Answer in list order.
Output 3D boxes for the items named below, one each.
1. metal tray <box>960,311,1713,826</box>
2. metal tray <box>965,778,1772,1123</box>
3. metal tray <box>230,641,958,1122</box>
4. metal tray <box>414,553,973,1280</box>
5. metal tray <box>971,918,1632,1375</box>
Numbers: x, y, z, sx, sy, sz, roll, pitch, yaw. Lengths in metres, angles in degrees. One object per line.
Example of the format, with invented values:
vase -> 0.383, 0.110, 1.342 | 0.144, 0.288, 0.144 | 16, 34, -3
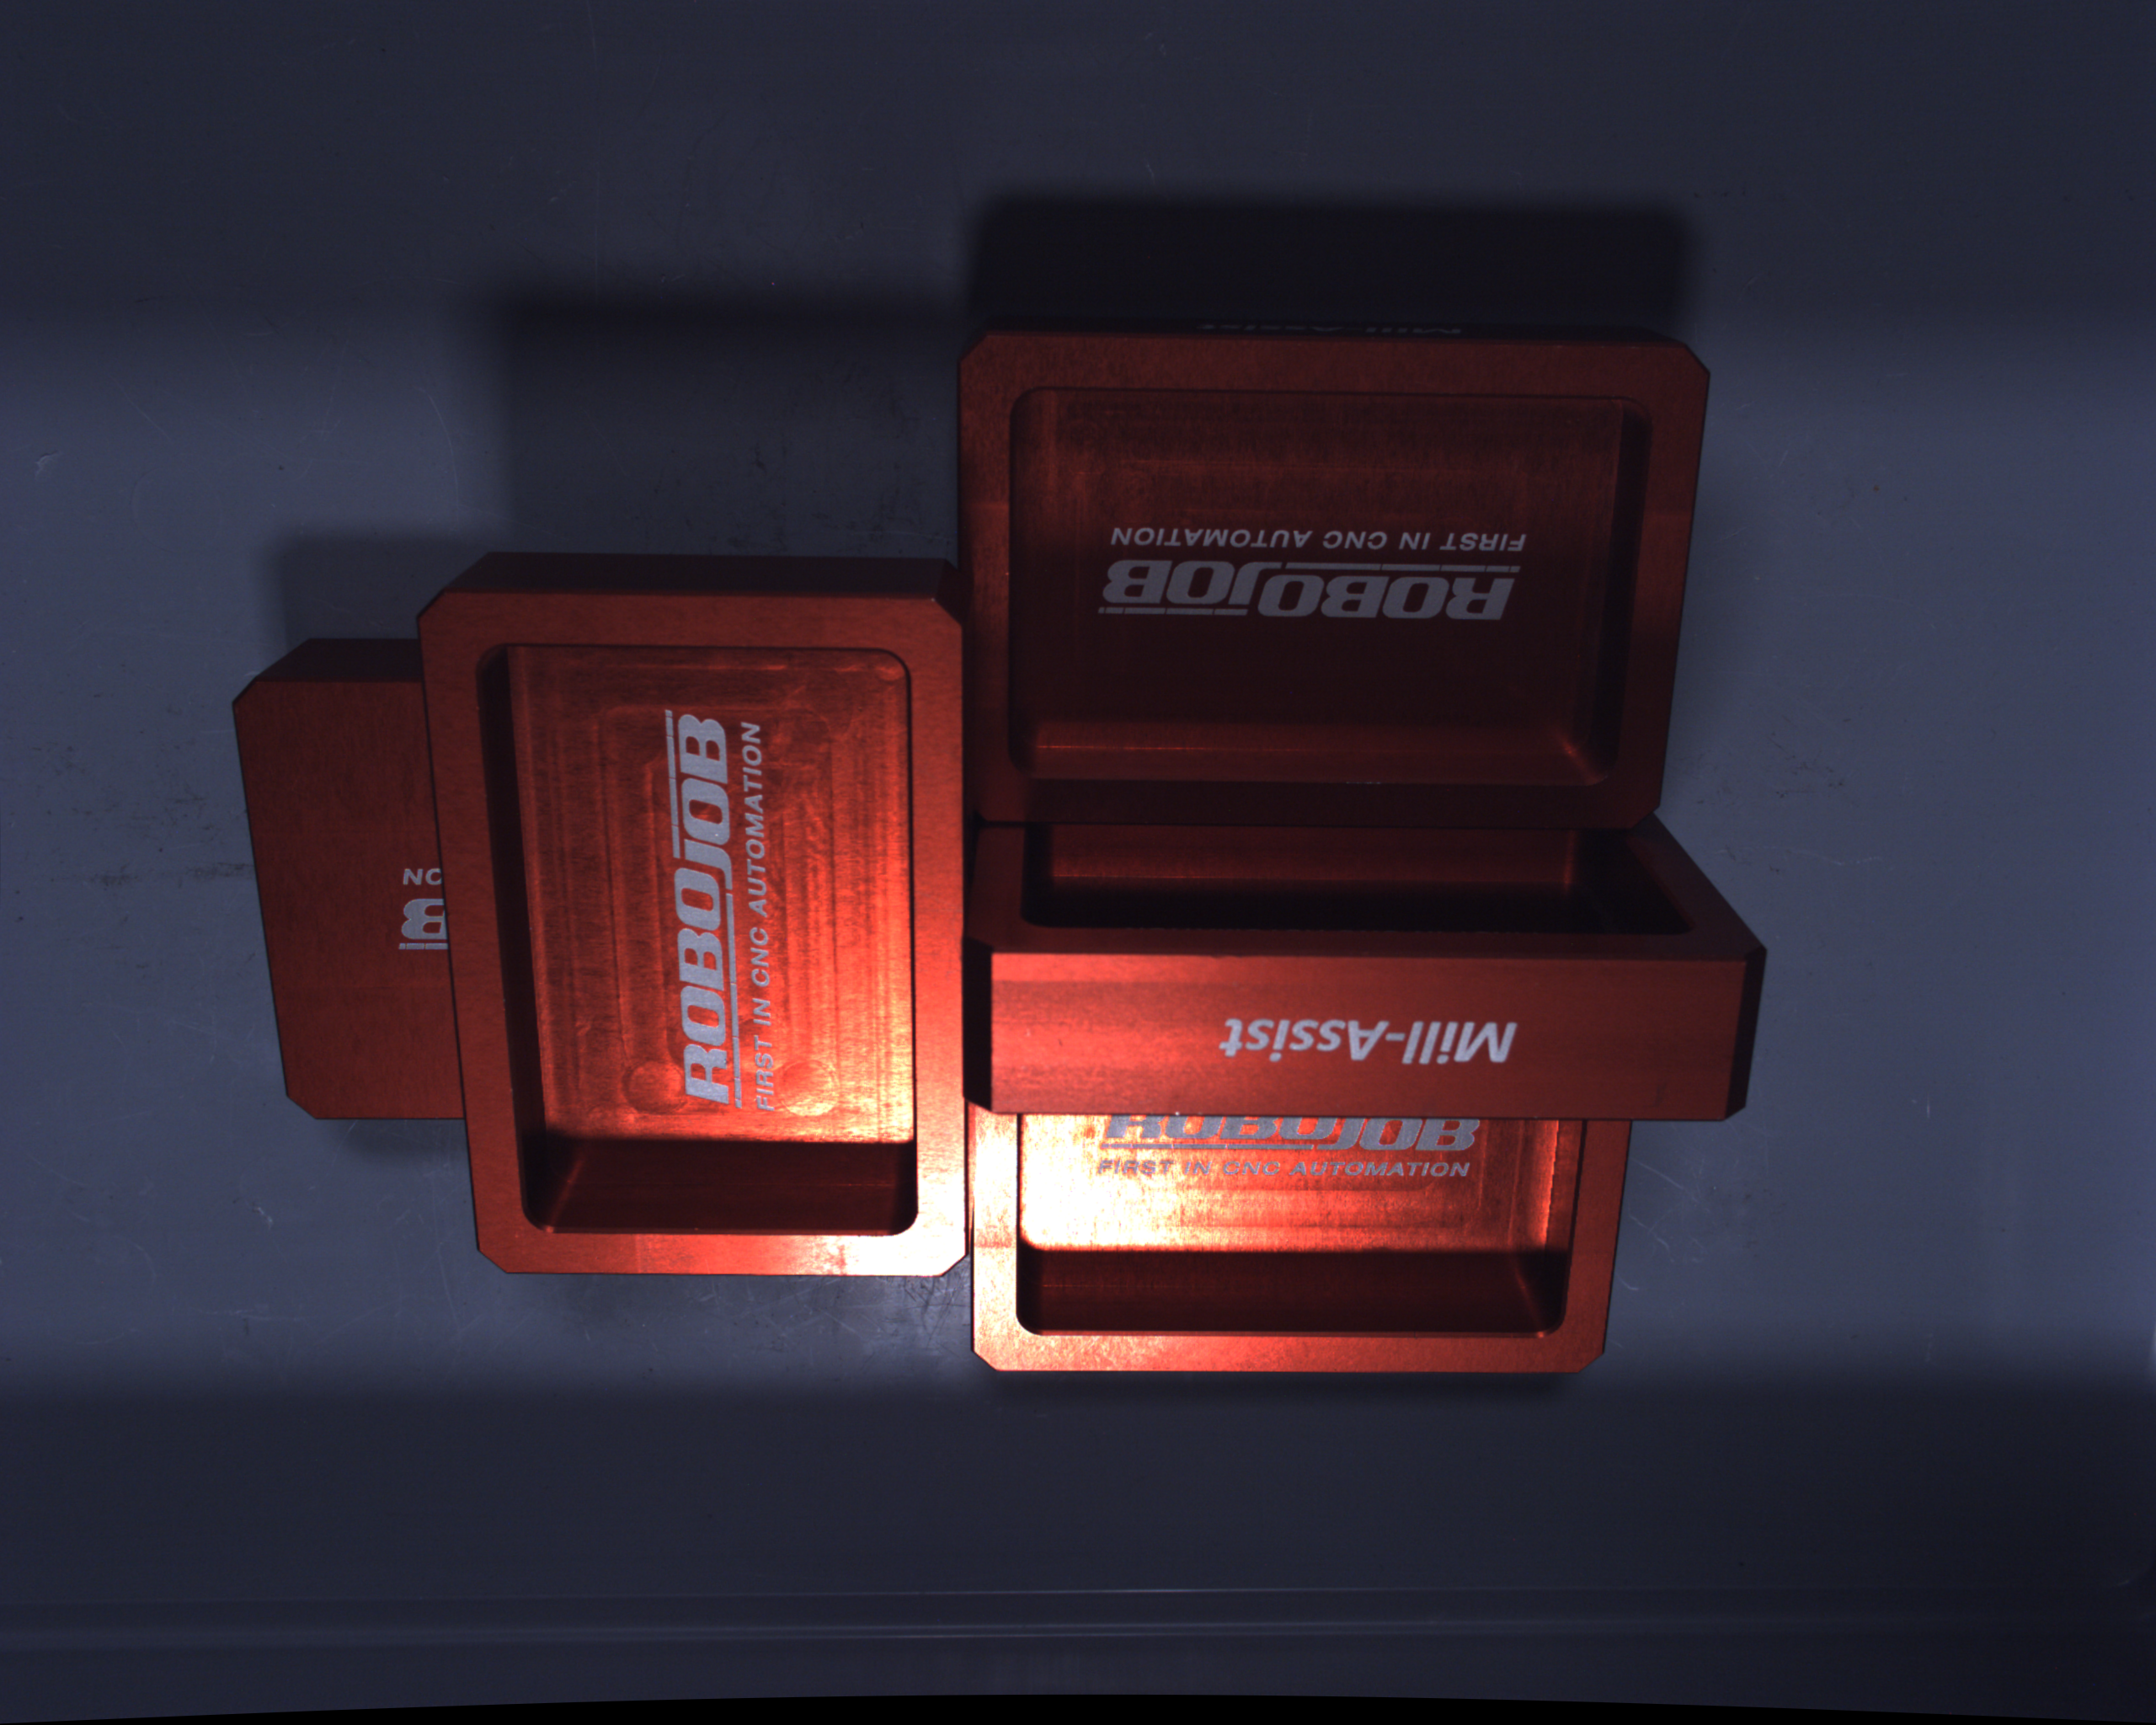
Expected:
metal tray -> 0.044, -0.054, 0.388 | 0.131, 0.030, 0.089 | 1, 110, -1
metal tray -> 0.047, 0.013, 0.379 | 0.131, 0.090, 0.030 | 1, 110, -1
metal tray -> -0.089, 0.004, 0.405 | 0.131, 0.030, 0.089 | 0, 110, -1
metal tray -> -0.065, 0.012, 0.377 | 0.091, 0.030, 0.129 | 1, 110, -1
metal tray -> 0.044, 0.059, 0.429 | 0.131, 0.030, 0.089 | 1, 110, -1
